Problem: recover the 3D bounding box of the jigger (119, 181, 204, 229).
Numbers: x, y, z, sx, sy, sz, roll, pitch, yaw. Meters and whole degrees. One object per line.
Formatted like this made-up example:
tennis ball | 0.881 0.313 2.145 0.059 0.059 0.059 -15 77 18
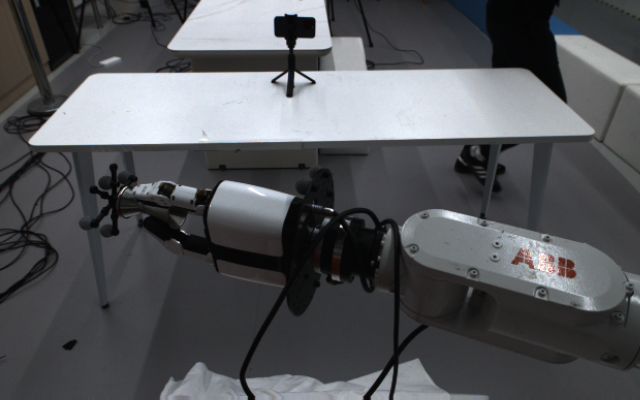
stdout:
jigger | -0.189 0.004 0.565 0.071 0.043 0.043 8 35 12
